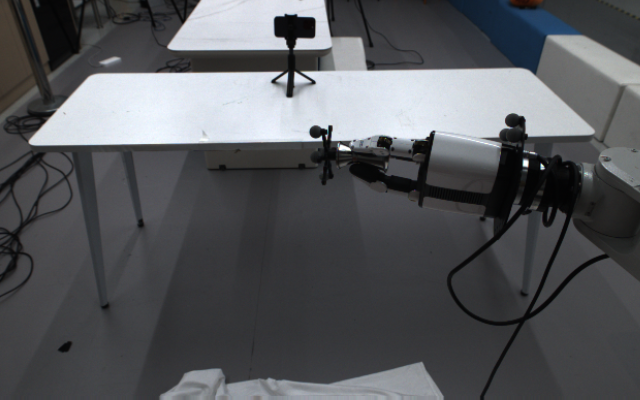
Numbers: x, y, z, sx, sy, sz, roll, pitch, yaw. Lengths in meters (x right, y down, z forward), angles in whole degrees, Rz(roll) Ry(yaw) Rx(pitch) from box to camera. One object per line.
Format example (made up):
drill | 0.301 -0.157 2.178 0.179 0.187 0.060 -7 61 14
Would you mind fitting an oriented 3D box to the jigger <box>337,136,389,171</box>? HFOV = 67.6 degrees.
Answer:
jigger | 0.066 -0.065 0.675 0.071 0.043 0.043 3 34 14
